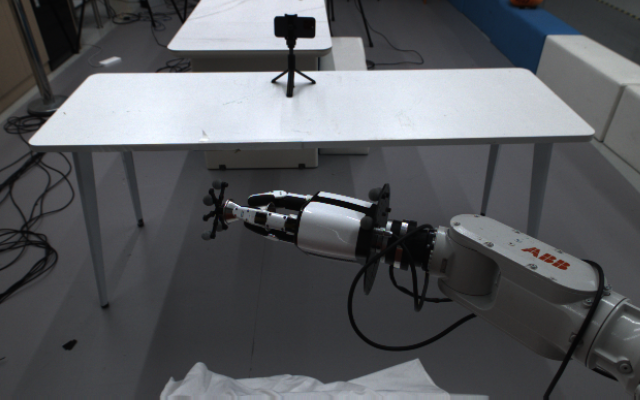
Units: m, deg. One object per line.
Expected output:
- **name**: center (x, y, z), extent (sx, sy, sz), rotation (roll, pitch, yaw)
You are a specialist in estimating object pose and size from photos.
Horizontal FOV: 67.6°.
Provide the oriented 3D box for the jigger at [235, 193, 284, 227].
- **jigger**: center (-0.100, 0.018, 0.726), extent (0.071, 0.043, 0.043), rotation (7, 35, 14)
